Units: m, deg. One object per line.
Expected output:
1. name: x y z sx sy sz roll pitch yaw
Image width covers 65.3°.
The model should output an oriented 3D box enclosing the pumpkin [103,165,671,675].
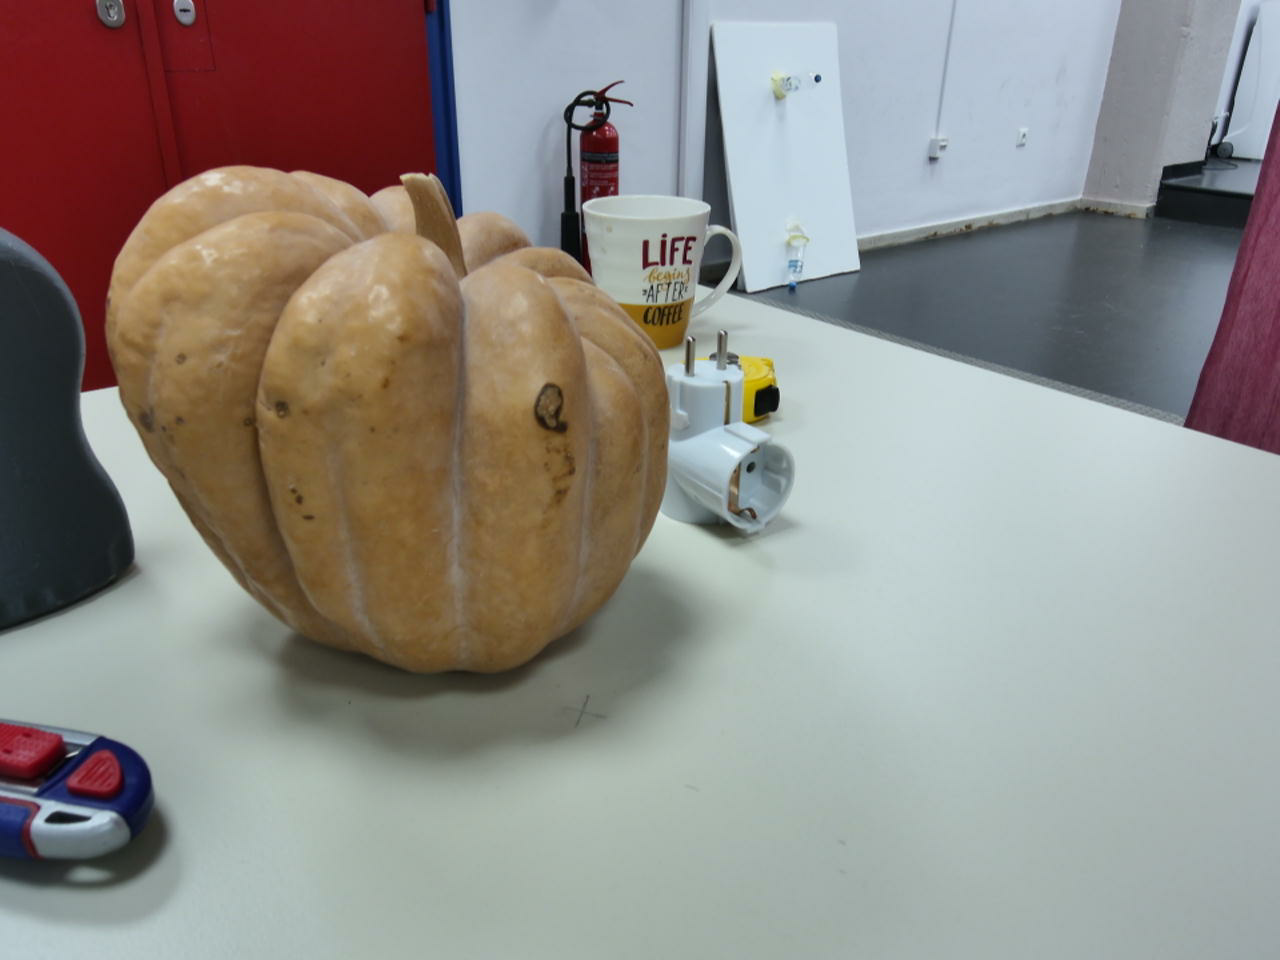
1. pumpkin: -0.085 -0.023 0.366 0.199 0.177 0.198 1 24 0
